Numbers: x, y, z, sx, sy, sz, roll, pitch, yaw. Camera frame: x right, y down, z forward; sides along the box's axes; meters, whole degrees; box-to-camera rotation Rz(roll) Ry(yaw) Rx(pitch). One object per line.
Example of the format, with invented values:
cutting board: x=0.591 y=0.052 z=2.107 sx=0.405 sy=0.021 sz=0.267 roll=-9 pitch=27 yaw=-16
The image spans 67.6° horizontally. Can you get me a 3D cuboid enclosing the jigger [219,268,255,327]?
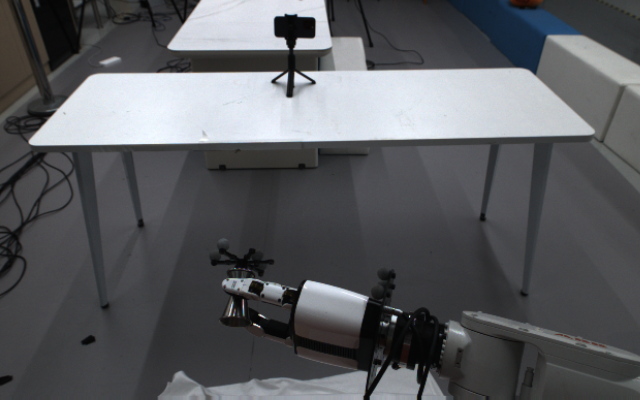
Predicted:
jigger: x=-0.109 y=0.128 z=0.644 sx=0.043 sy=0.043 sz=0.071 roll=2 pitch=59 yaw=0
